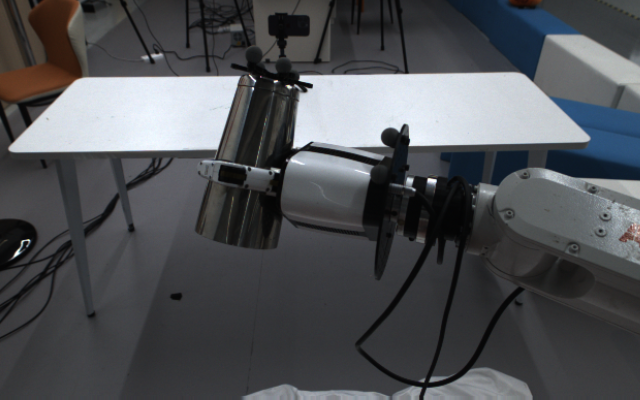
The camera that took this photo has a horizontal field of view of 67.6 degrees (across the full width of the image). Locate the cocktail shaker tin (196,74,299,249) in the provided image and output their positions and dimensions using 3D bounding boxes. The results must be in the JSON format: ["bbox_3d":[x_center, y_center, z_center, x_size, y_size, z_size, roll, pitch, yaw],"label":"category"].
[{"bbox_3d":[-0.070,-0.040,0.522,0.093,0.170,0.093,13,4,-1],"label":"cocktail shaker tin"}]
